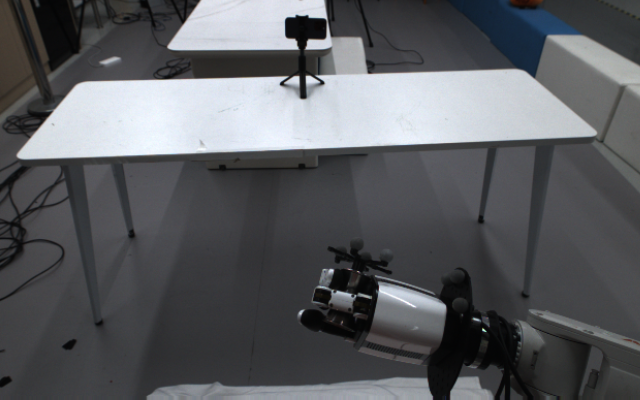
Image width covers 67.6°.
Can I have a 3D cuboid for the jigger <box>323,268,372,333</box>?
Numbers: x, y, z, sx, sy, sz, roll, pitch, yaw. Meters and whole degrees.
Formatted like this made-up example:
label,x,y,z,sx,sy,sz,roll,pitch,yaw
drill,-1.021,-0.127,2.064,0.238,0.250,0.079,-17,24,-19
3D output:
label,x,y,z,sx,sy,sz,roll,pitch,yaw
jigger,0.035,0.121,0.597,0.043,0.043,0.071,15,69,18
